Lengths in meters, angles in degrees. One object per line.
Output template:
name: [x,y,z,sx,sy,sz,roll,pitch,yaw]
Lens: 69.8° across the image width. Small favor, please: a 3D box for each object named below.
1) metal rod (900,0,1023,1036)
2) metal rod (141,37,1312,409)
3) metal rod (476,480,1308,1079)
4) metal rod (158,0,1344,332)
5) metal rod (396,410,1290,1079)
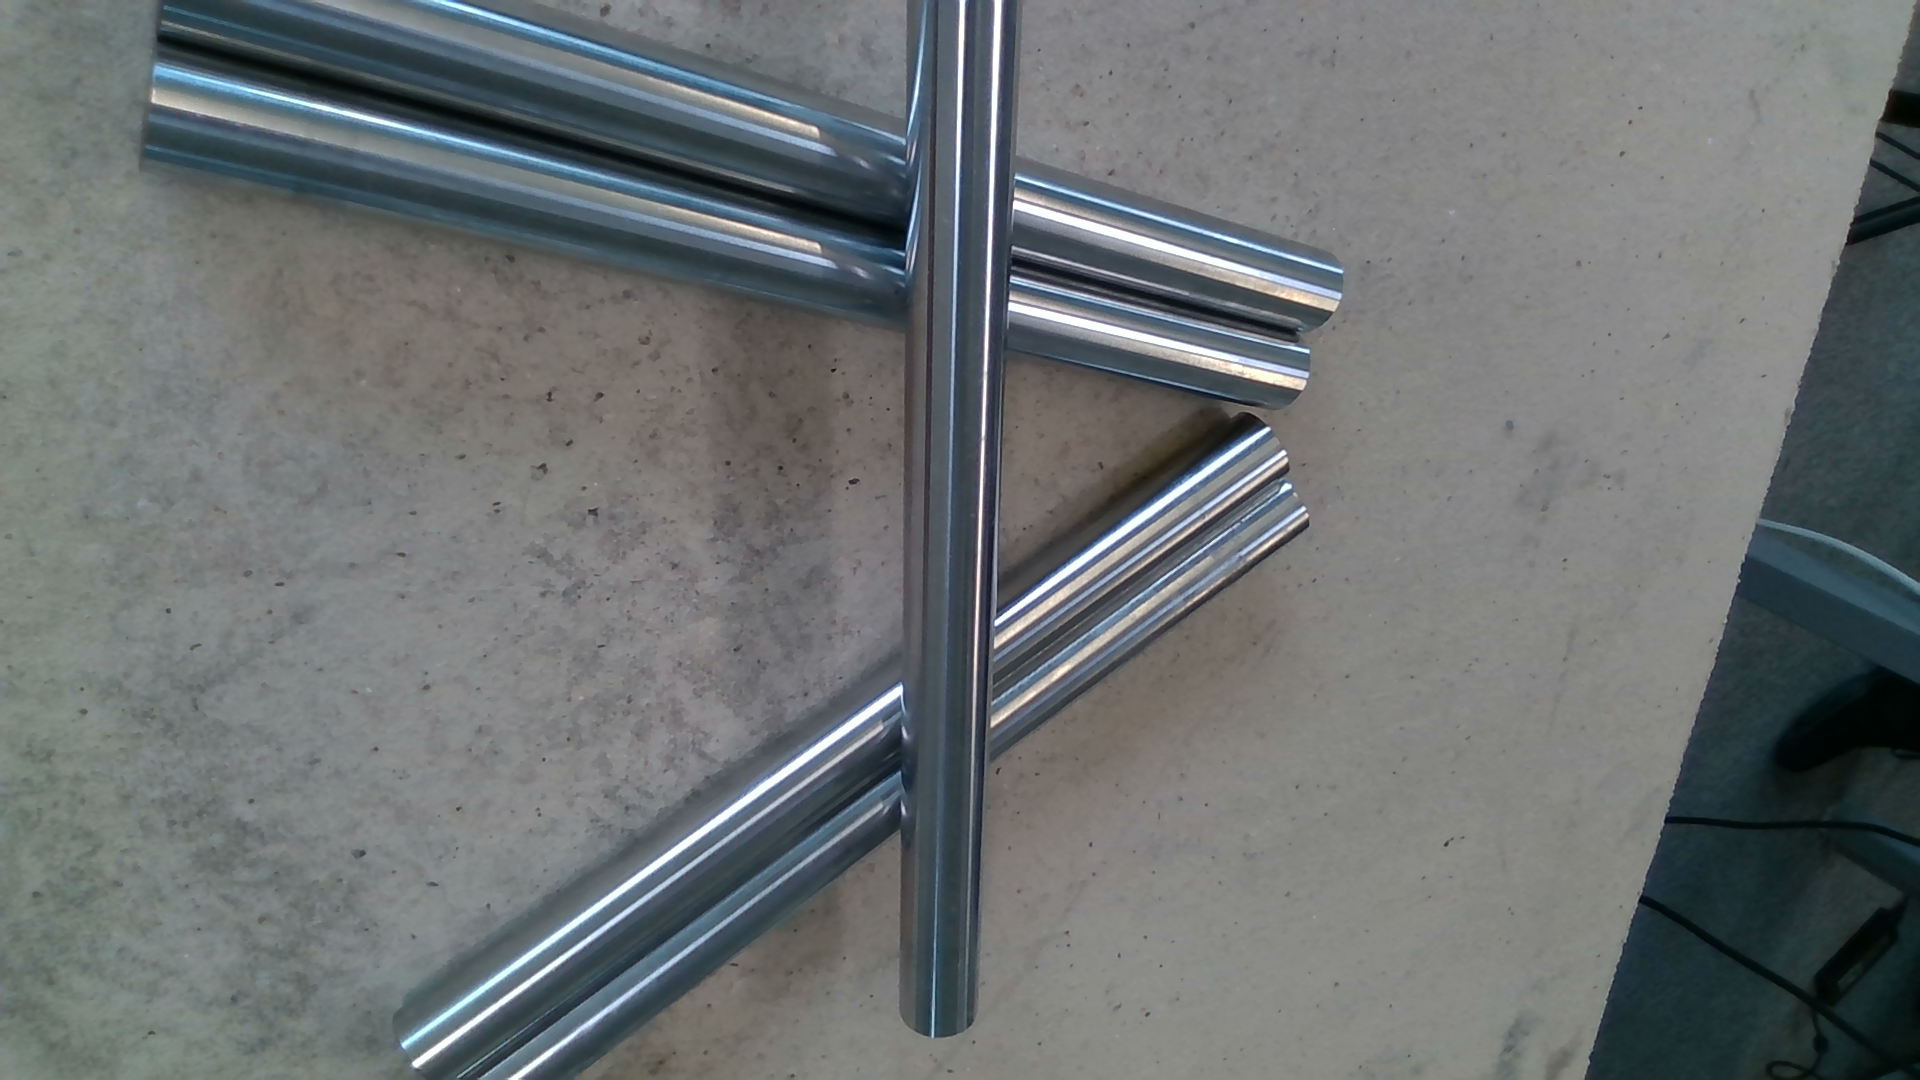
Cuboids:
metal rod: [-0.003,0.013,0.363,0.025,0.025,0.301,-13,121,-26]
metal rod: [-0.026,-0.066,0.338,0.300,0.025,0.025,6,111,-34]
metal rod: [-0.016,0.071,0.419,0.300,0.025,0.025,-35,128,-11]
metal rod: [-0.018,-0.089,0.330,0.300,0.025,0.025,7,111,-34]
metal rod: [-0.026,0.054,0.404,0.300,0.025,0.025,-35,128,-11]
